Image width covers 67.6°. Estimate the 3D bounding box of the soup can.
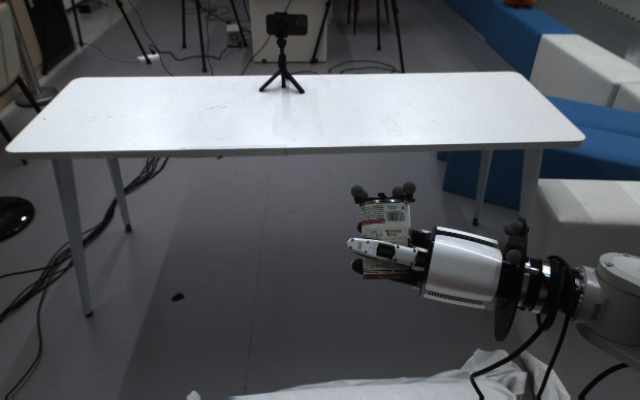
[{"bbox_3d":[0.091,0.054,0.645,0.067,0.101,0.067,-1,-9,0],"label":"soup can"}]
